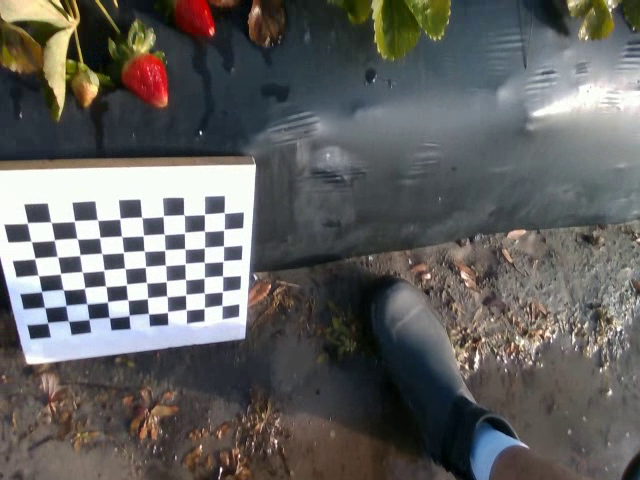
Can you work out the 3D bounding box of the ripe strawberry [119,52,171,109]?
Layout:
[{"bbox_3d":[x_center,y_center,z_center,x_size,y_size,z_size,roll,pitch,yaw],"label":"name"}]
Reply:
[{"bbox_3d":[-0.182,-0.164,0.668,0.050,0.065,0.049,-35,-18,8],"label":"ripe strawberry"}]

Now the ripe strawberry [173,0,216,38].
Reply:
[{"bbox_3d":[-0.133,-0.232,0.690,0.055,0.045,0.041,41,22,17],"label":"ripe strawberry"}]
